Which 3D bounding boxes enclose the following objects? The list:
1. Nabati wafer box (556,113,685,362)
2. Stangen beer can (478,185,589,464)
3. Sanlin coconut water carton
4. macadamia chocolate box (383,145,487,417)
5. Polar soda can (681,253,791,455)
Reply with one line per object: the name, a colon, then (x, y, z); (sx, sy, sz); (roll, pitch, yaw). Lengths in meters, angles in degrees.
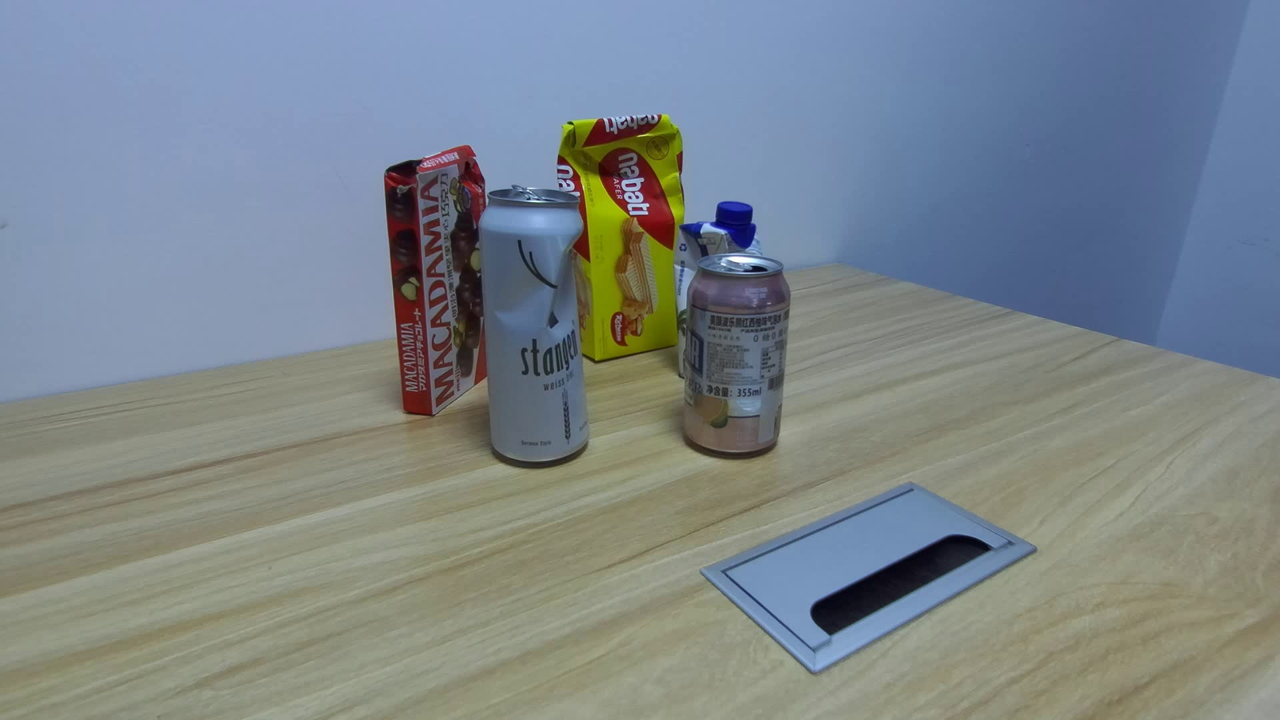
Nabati wafer box: (-0.012, -0.105, 0.620); (0.114, 0.205, 0.042); (-13, 22, -27)
Stangen beer can: (-0.064, -0.021, 0.450); (0.070, 0.173, 0.069); (-14, 25, -35)
Sanlin coconut water carton: (0.066, -0.056, 0.578); (0.068, 0.144, 0.057); (10, 17, 40)
macadamia chocolate box: (-0.147, -0.062, 0.533); (0.027, 0.187, 0.103); (10, 23, 13)
Polar soda can: (0.063, -0.003, 0.466); (0.067, 0.125, 0.067); (-1, 19, 1)
